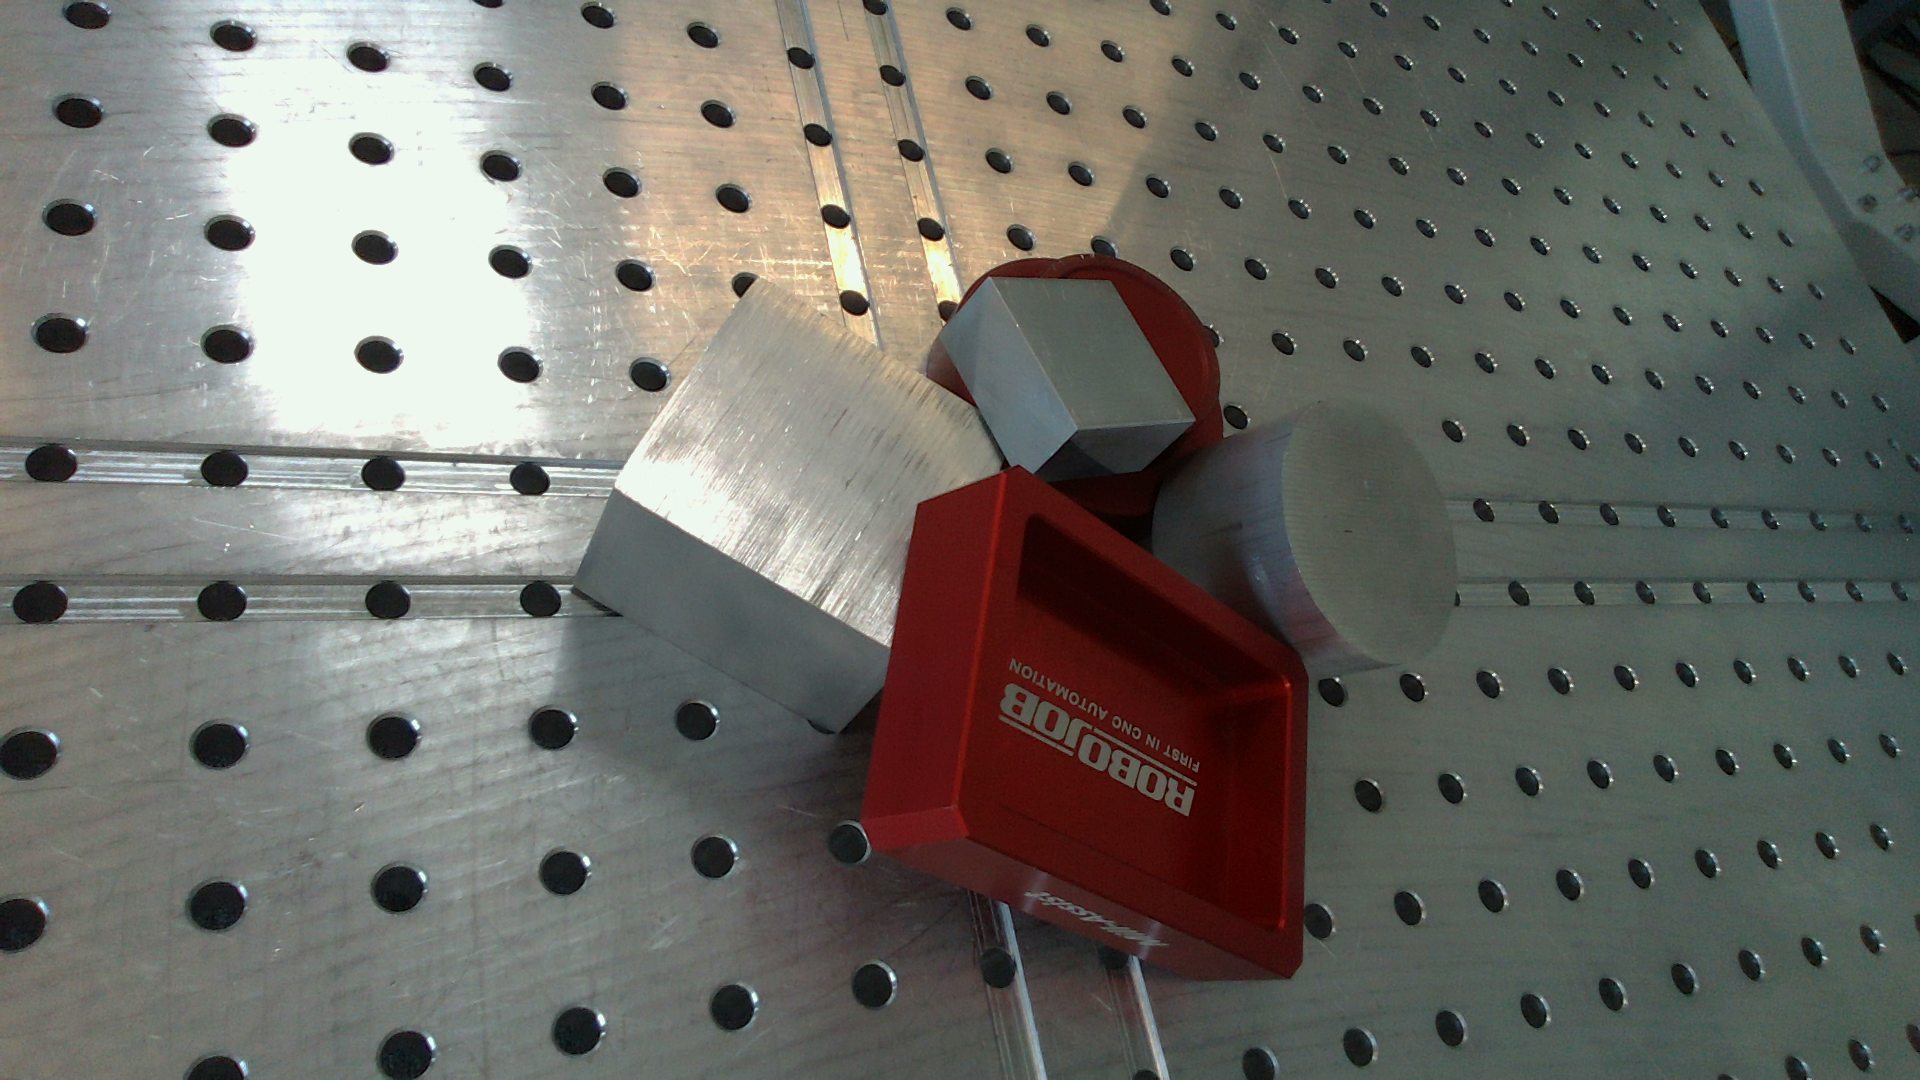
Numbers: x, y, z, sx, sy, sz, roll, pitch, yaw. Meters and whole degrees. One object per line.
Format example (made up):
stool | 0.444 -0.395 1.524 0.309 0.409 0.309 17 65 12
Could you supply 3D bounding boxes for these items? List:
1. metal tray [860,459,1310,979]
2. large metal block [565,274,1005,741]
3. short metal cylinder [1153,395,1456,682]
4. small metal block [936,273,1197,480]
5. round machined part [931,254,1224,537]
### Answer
metal tray | 0.039 0.049 0.343 0.130 0.030 0.090 32 55 -36
large metal block | -0.042 -0.008 0.359 0.080 0.050 0.080 31 52 -8
short metal cylinder | 0.105 0.002 0.417 0.080 0.050 0.080 14 68 -36
small metal block | 0.029 -0.045 0.376 0.050 0.025 0.050 -8 62 -44
round machined part | 0.043 -0.051 0.436 0.098 0.042 0.098 14 56 -21
